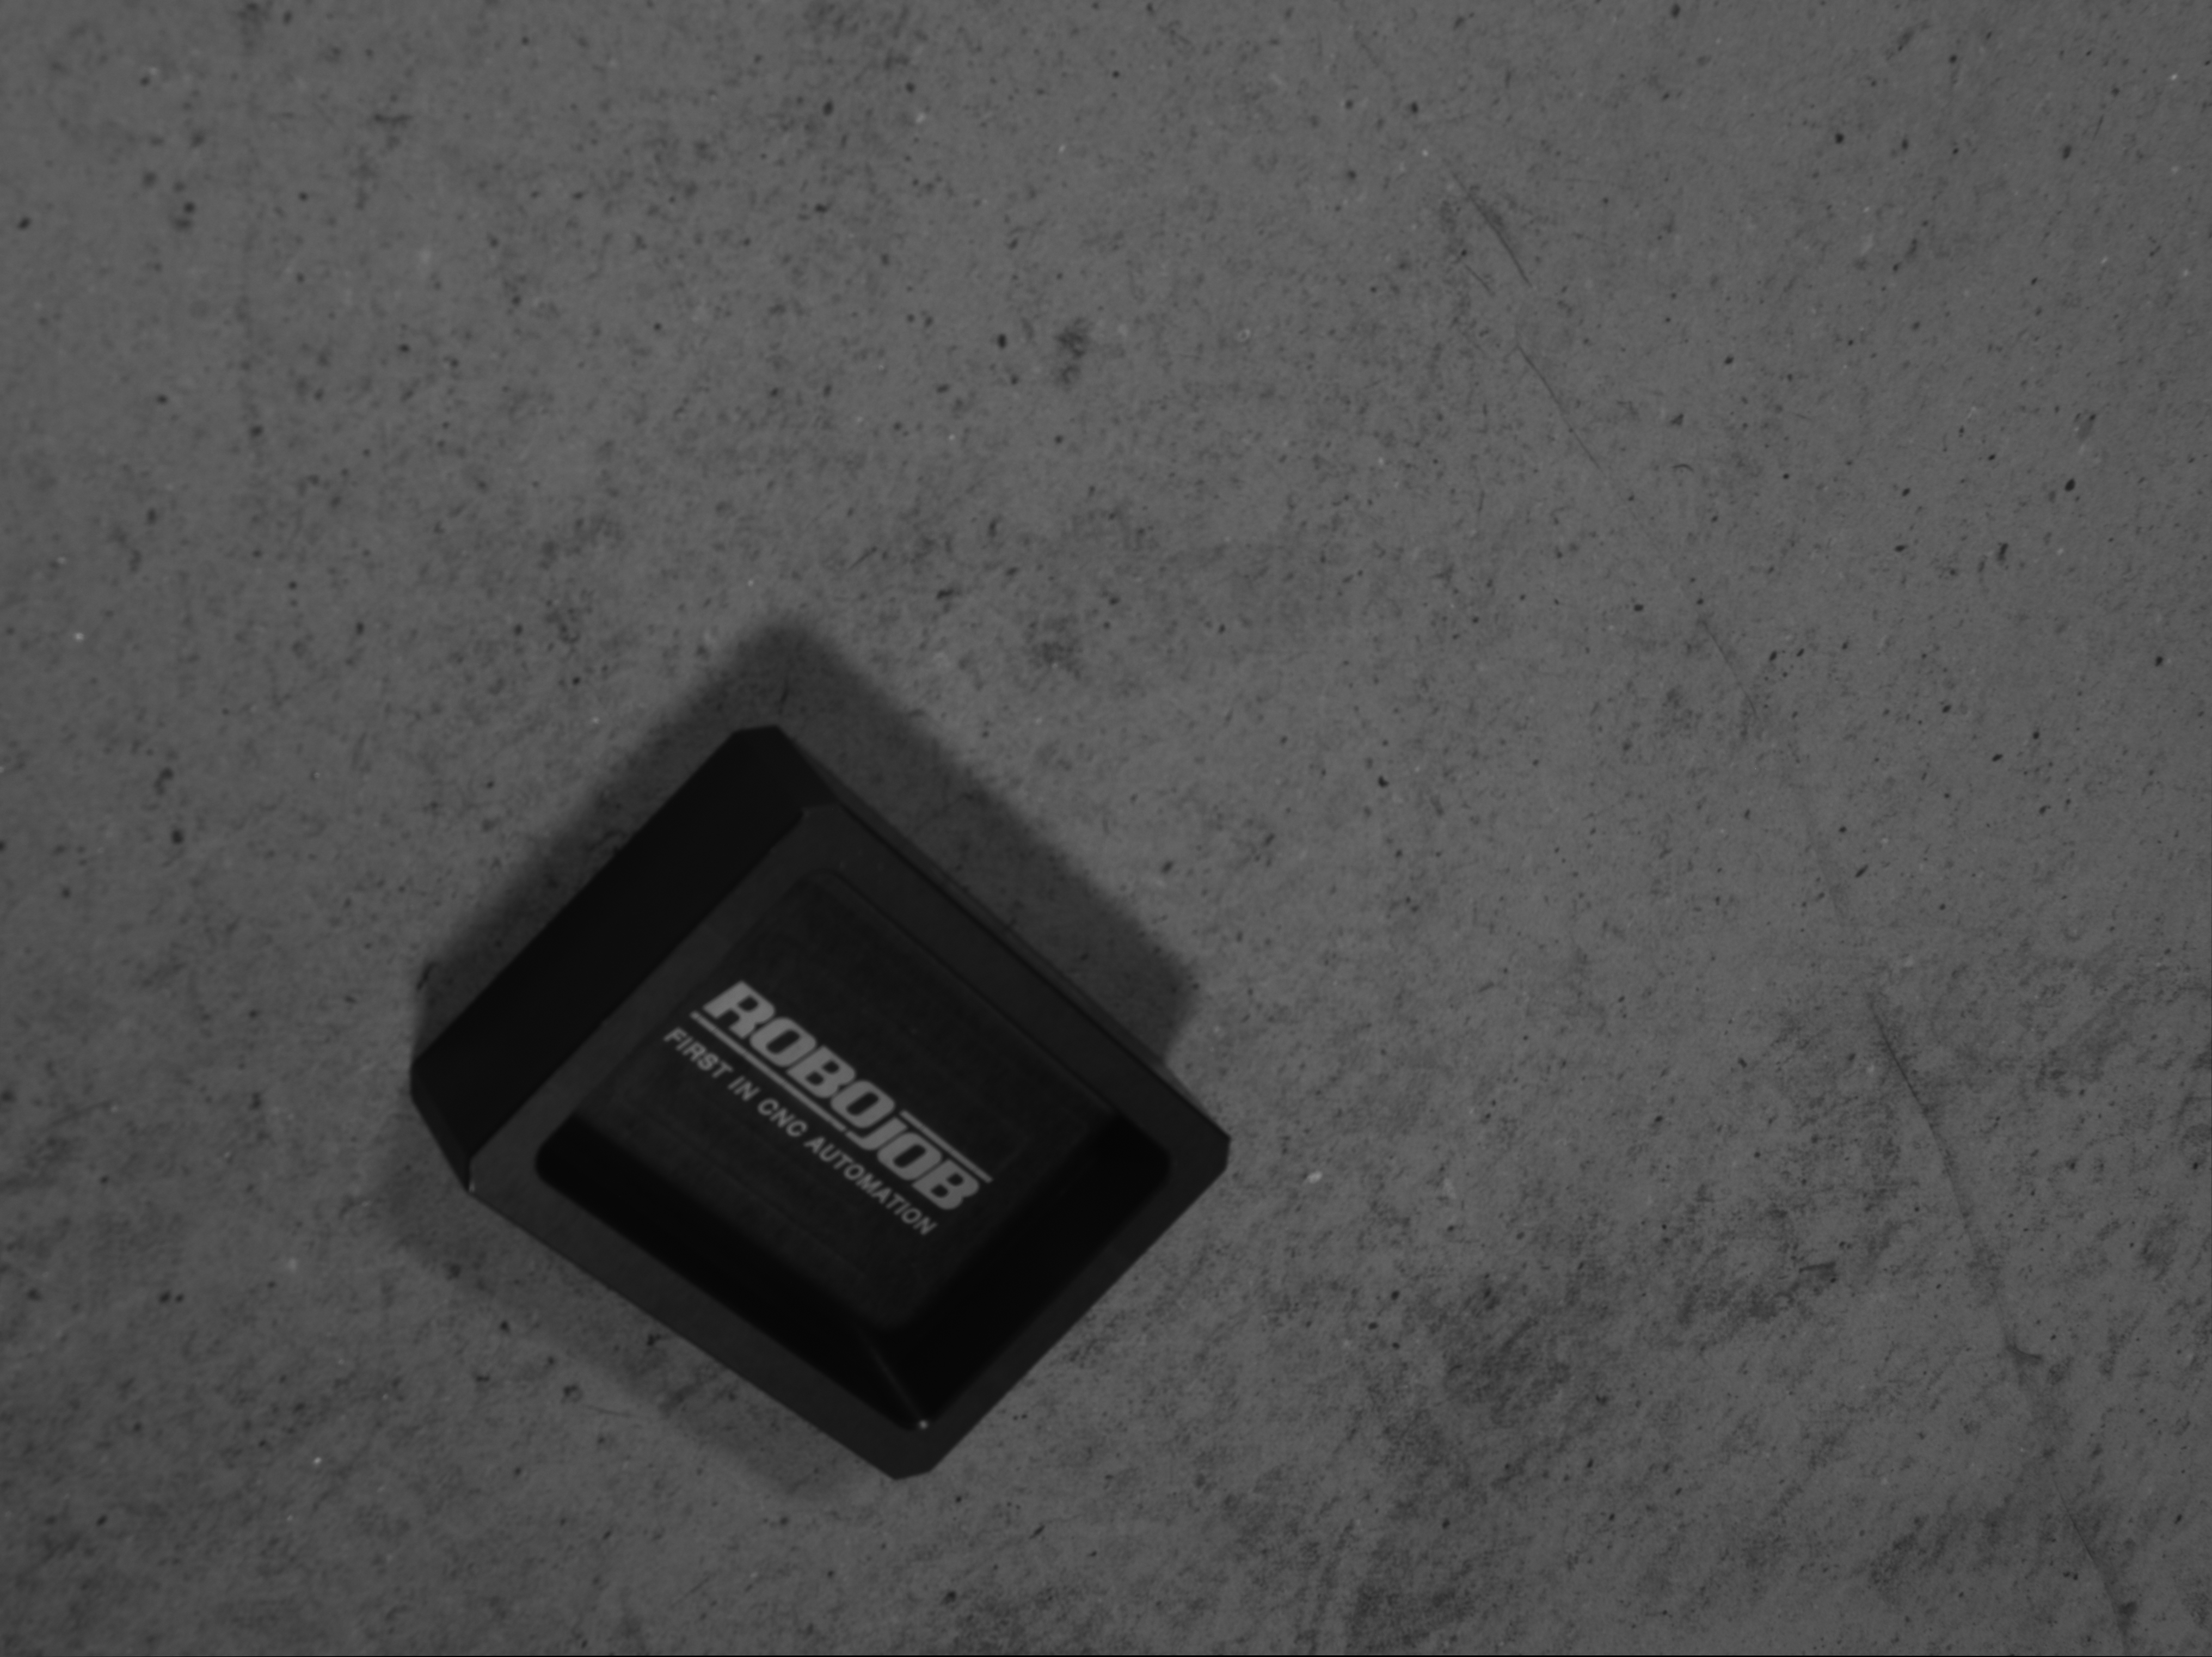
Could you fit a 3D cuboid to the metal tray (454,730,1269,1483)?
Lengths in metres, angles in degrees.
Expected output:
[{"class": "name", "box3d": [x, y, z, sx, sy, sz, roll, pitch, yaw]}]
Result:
[{"class": "metal tray", "box3d": [-0.041, 0.053, 0.657, 0.090, 0.030, 0.130, -46, 130, 2]}]
